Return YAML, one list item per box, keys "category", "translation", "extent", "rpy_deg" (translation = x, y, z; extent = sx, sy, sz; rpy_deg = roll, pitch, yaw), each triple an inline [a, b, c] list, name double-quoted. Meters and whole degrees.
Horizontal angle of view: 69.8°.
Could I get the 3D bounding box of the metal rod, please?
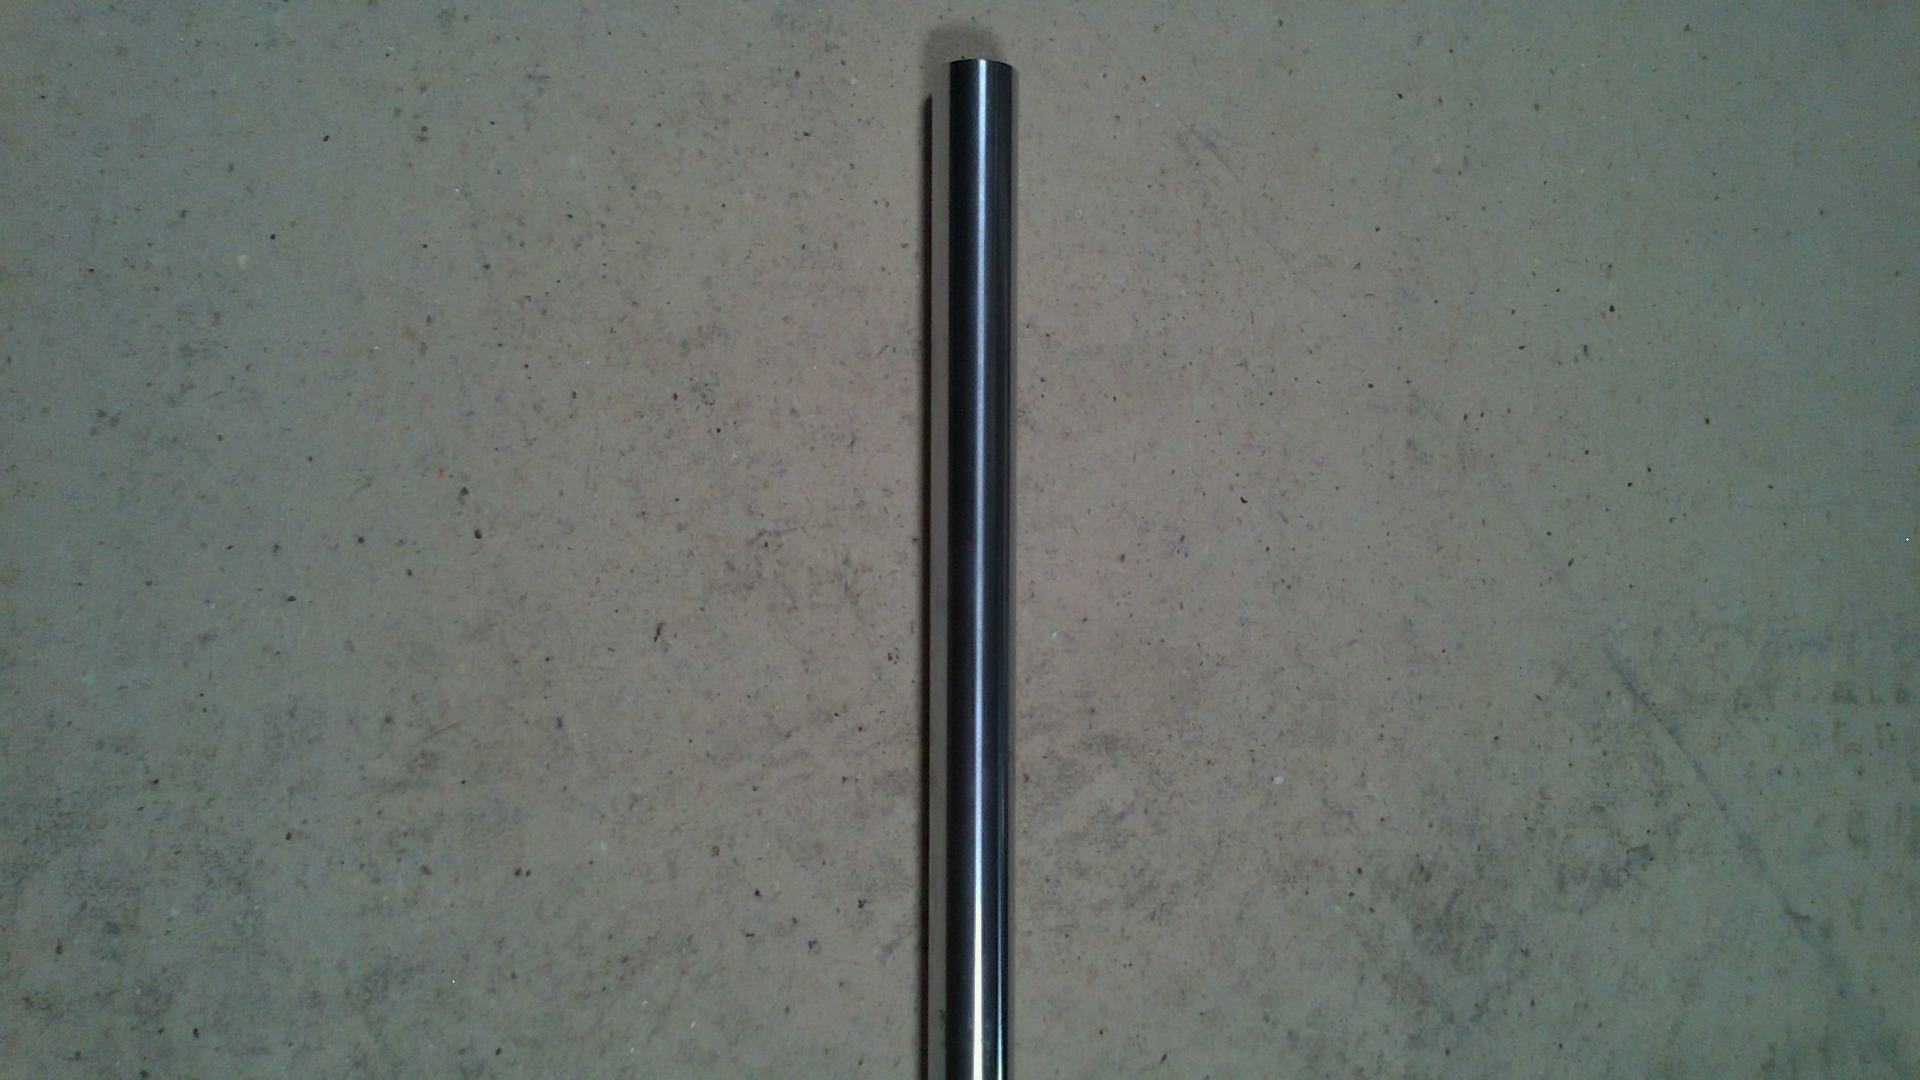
- category: "metal rod"
  translation: [0.003, 0.017, 0.395]
  extent: [0.025, 0.025, 0.300]
  rpy_deg: [0, 90, -20]
